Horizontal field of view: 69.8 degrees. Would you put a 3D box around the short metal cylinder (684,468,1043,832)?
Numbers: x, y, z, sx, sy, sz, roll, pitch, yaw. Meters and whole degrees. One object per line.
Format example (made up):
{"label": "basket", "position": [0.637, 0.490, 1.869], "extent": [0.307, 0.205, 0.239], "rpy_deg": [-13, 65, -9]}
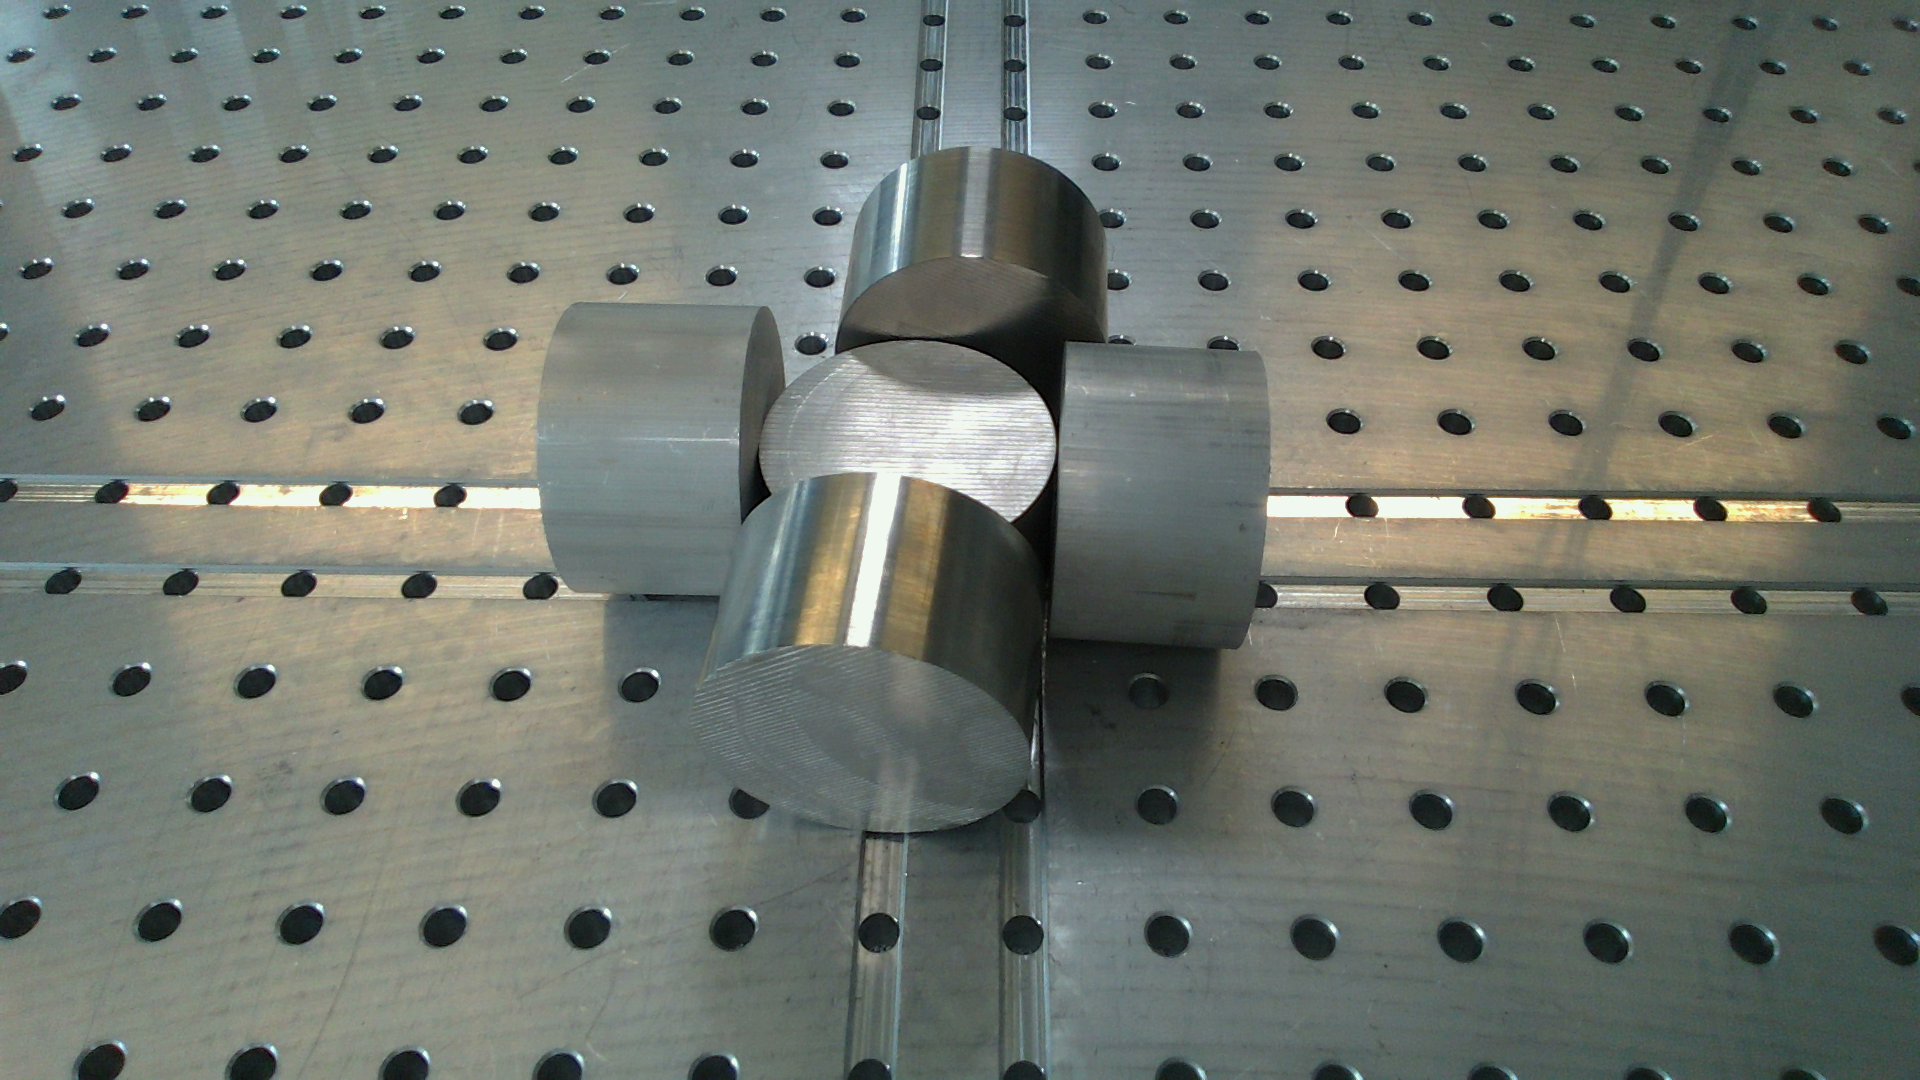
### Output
{"label": "short metal cylinder", "position": [-0.021, 0.028, 0.333], "extent": [0.080, 0.080, 0.050], "rpy_deg": [5, 50, 4]}

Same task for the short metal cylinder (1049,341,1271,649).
{"label": "short metal cylinder", "position": [0.051, -0.012, 0.370], "extent": [0.050, 0.080, 0.080], "rpy_deg": [3, 50, 2]}

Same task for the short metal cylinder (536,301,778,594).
{"label": "short metal cylinder", "position": [-0.079, -0.025, 0.380], "extent": [0.050, 0.080, 0.080], "rpy_deg": [2, 50, 1]}

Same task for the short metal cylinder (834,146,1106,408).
{"label": "short metal cylinder", "position": [0.004, -0.071, 0.418], "extent": [0.080, 0.080, 0.050], "rpy_deg": [2, 50, 2]}

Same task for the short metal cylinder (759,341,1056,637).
{"label": "short metal cylinder", "position": [-0.014, -0.010, 0.388], "extent": [0.080, 0.050, 0.080], "rpy_deg": [1, 50, -1]}
